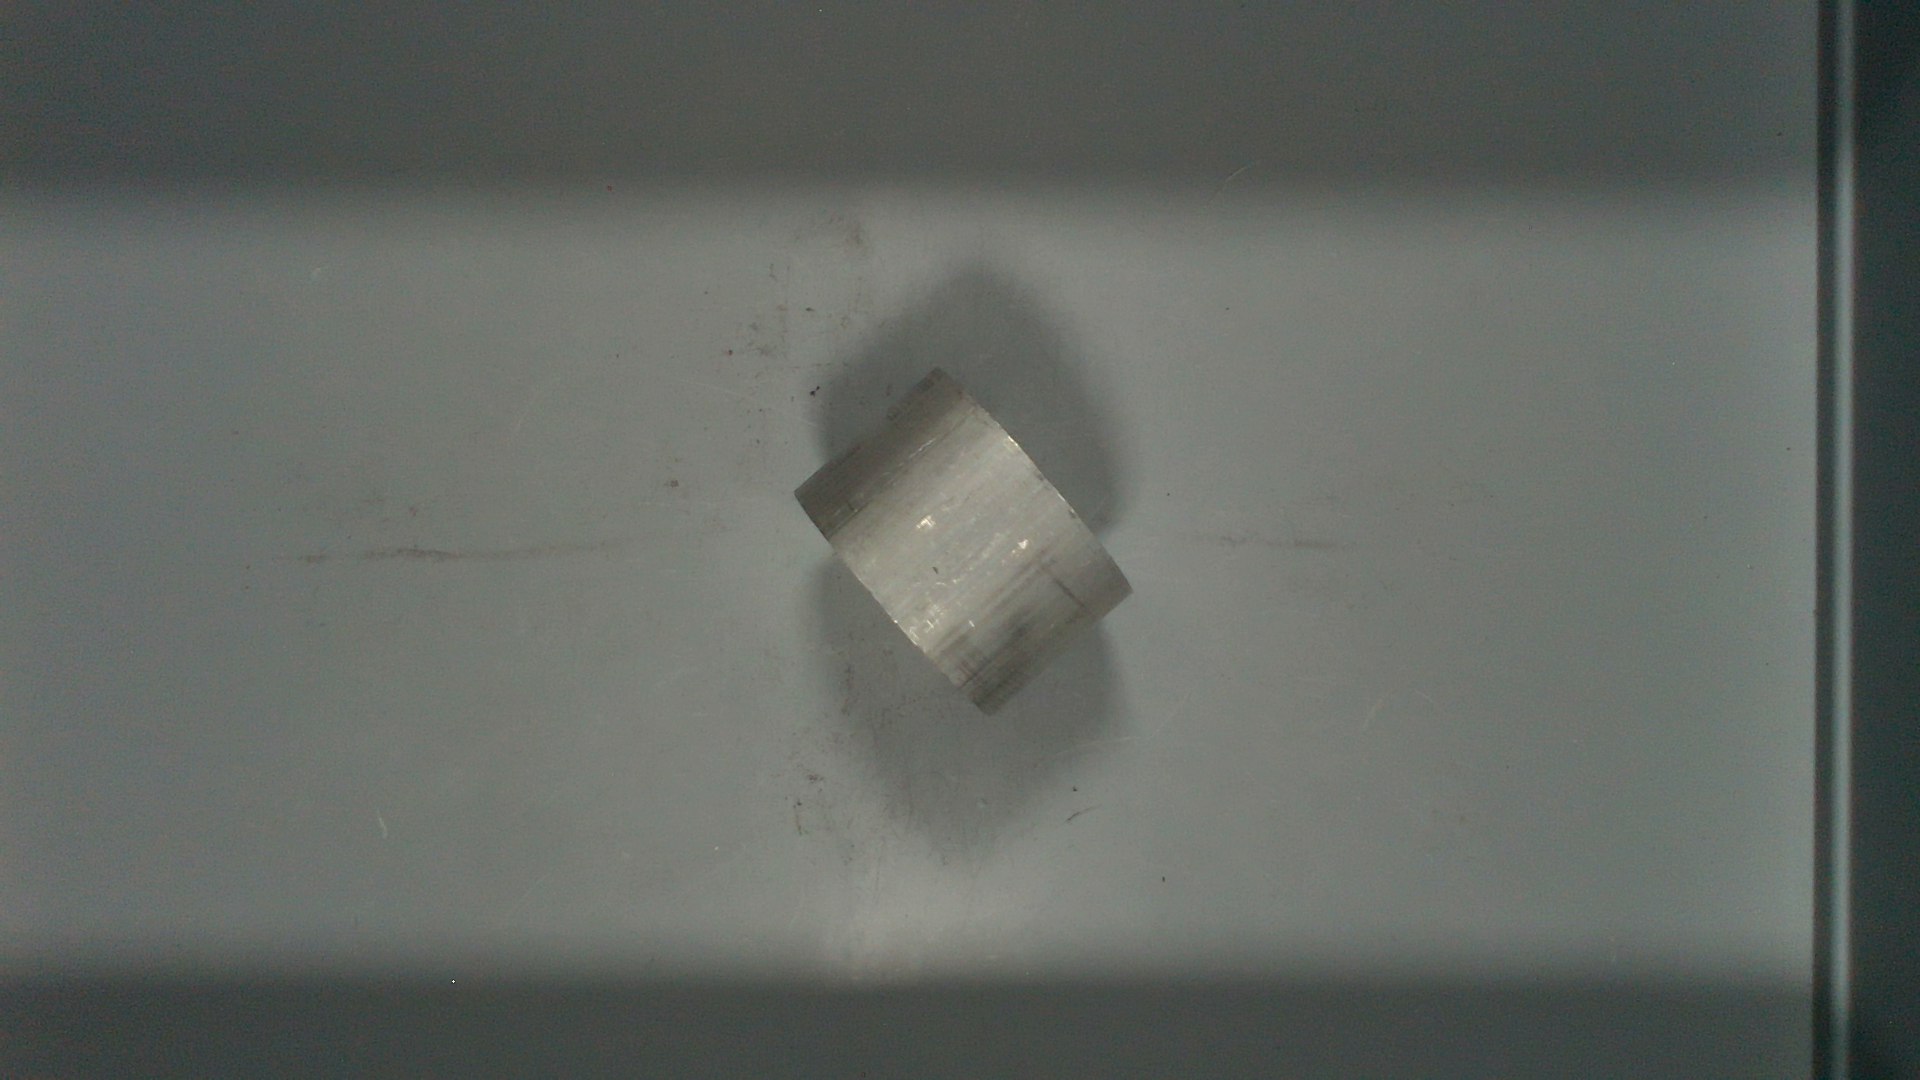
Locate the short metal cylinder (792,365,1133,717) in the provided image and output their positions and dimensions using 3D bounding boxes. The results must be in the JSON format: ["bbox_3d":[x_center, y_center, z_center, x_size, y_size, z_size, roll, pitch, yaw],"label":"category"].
[{"bbox_3d":[0.001,0.000,0.366,0.050,0.080,0.080,-41,90,0],"label":"short metal cylinder"}]
